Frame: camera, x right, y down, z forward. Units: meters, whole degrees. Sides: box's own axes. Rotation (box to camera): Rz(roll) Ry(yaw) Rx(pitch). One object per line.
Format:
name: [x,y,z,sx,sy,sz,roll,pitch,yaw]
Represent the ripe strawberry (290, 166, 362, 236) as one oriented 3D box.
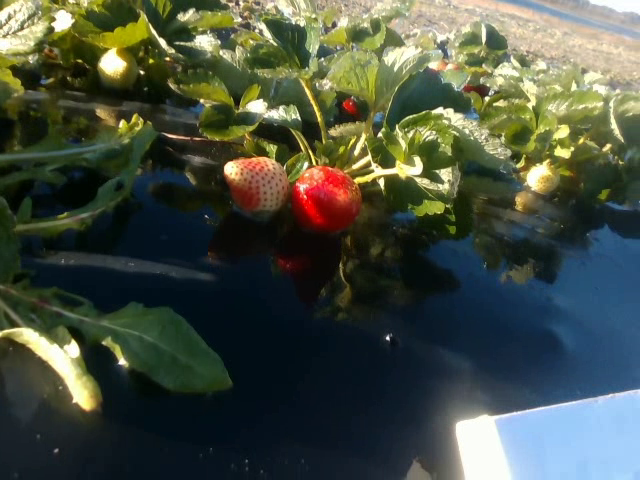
ripe strawberry: [0.008,-0.023,0.294,0.040,0.038,0.056,-23,-6,-12]
